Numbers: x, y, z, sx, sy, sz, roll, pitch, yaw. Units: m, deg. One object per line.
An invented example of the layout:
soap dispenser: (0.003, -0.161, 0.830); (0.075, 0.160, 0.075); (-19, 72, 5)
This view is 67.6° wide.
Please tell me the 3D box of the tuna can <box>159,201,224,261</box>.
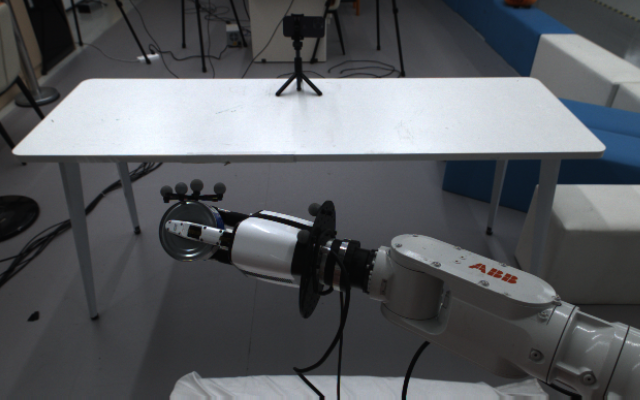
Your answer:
tuna can: (-0.174, 0.046, 0.681); (0.085, 0.085, 0.034); (9, -6, 10)
